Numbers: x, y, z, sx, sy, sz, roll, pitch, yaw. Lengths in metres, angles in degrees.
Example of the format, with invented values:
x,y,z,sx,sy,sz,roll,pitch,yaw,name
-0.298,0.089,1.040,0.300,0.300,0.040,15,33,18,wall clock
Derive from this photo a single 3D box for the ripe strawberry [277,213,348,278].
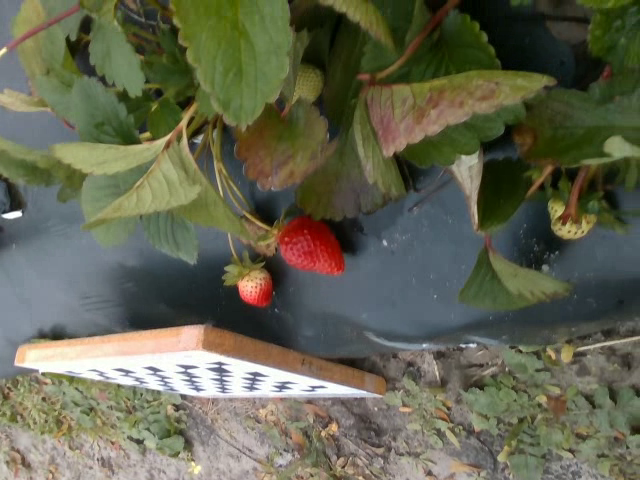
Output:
x,y,z,sx,sy,sz,roll,pitch,yaw,name
-0.007,0.008,0.399,0.059,0.042,0.044,29,-10,2,ripe strawberry

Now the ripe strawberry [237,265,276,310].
x,y,z,sx,sy,sz,roll,pitch,yaw,name
-0.051,0.039,0.459,0.036,0.028,0.041,1,-37,41,ripe strawberry
